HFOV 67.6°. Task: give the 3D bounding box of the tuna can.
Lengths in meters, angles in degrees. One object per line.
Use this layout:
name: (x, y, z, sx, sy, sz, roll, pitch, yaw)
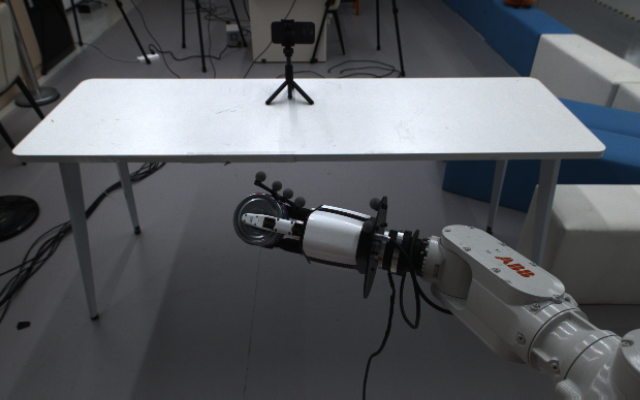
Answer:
tuna can: (-0.093, 0.039, 0.775, 0.085, 0.085, 0.034, 12, -5, 15)
